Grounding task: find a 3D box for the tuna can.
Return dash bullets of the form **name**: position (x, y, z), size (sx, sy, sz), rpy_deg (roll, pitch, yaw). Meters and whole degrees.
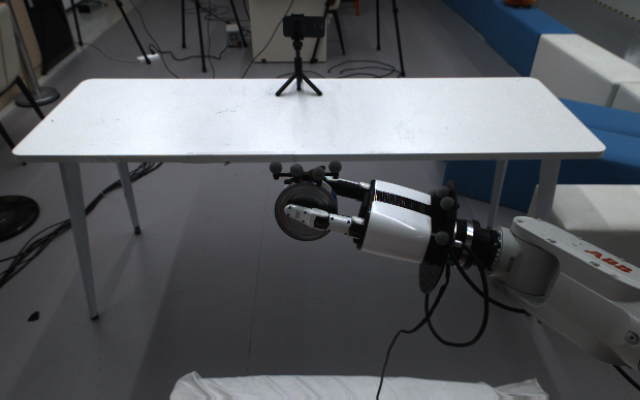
- **tuna can**: position (-0.015, 0.016, 0.662), size (0.085, 0.085, 0.034), rpy_deg (4, 18, 3)
